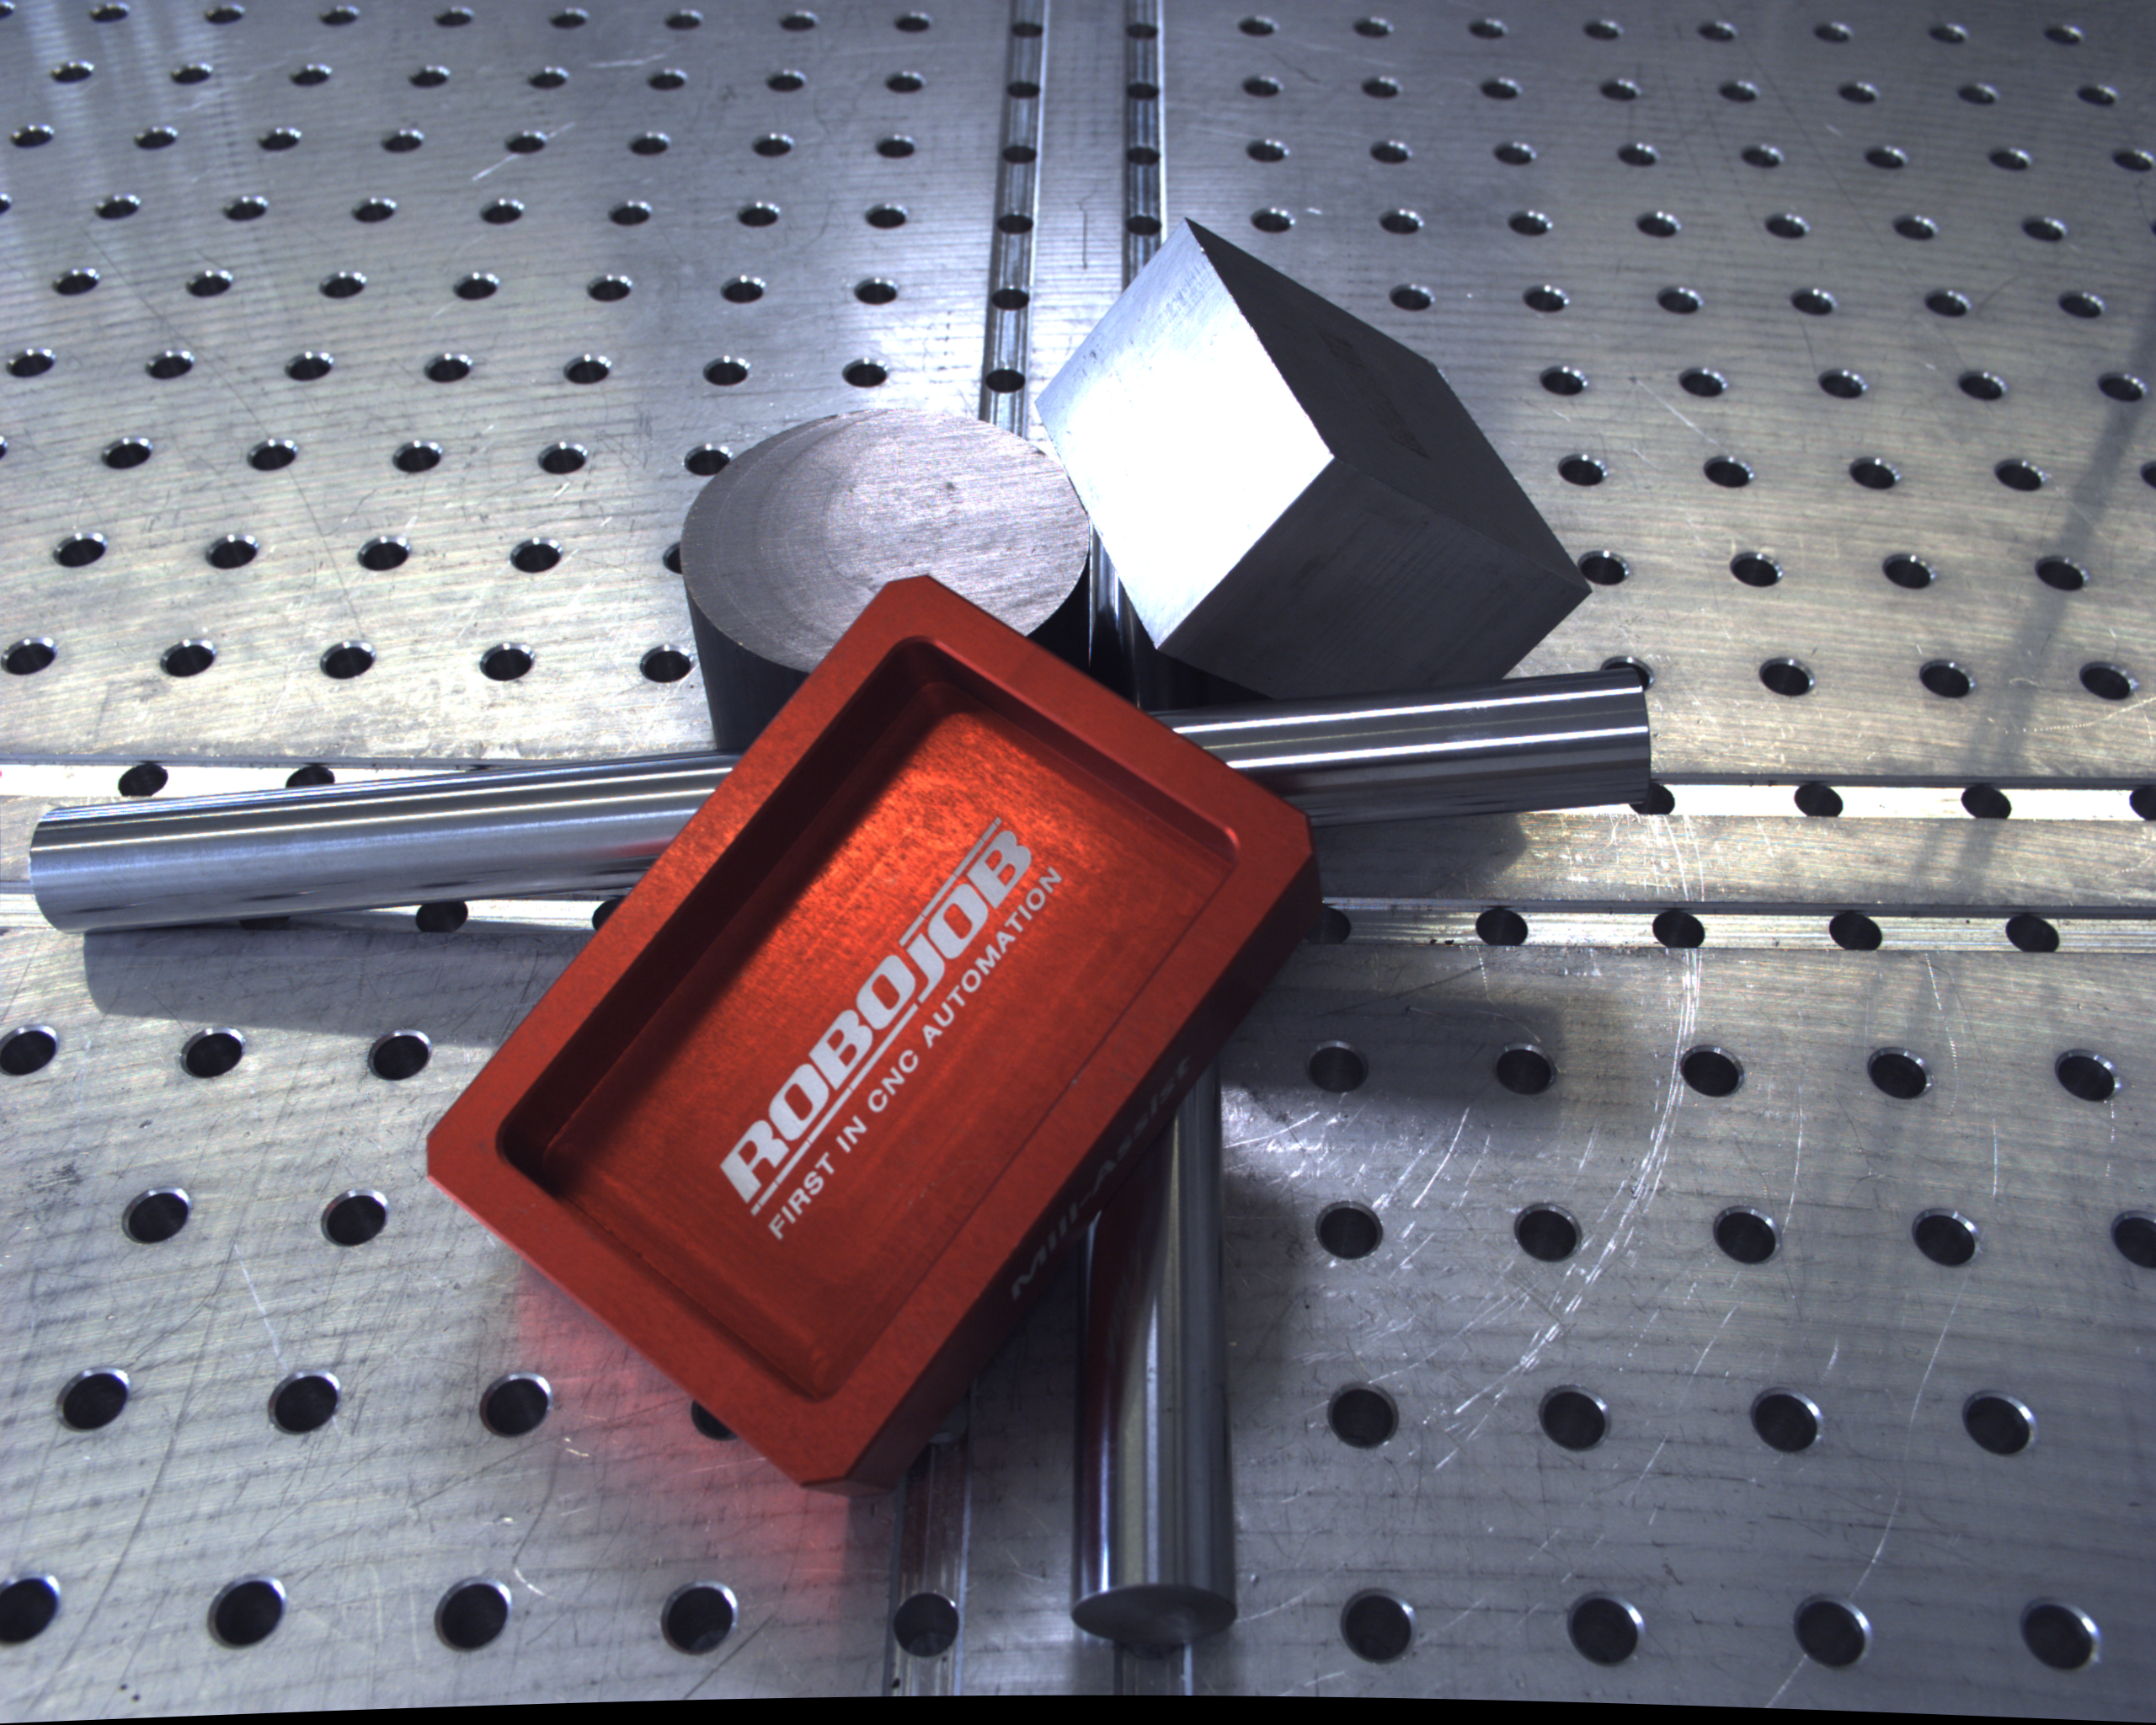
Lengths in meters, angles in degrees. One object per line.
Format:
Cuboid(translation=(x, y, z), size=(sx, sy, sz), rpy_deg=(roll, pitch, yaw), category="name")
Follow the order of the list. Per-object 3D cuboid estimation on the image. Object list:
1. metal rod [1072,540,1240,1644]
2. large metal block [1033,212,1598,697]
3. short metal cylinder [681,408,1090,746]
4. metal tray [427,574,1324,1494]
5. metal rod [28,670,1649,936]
Cuboid(translation=(0.014, -0.002, 0.409), size=(0.025, 0.025, 0.300), rpy_deg=(1, 50, 1), category="metal rod")
Cuboid(translation=(0.048, -0.076, 0.430), size=(0.080, 0.050, 0.080), rpy_deg=(17, 37, -40), category="large metal block")
Cuboid(translation=(-0.038, -0.049, 0.432), size=(0.081, 0.050, 0.080), rpy_deg=(0, 50, 0), category="short metal cylinder")
Cuboid(translation=(-0.032, 0.026, 0.348), size=(0.090, 0.030, 0.130), rpy_deg=(34, 78, 18), category="metal tray")
Cuboid(translation=(-0.048, -0.010, 0.394), size=(0.302, 0.025, 0.025), rpy_deg=(-5, 50, 5), category="metal rod")
